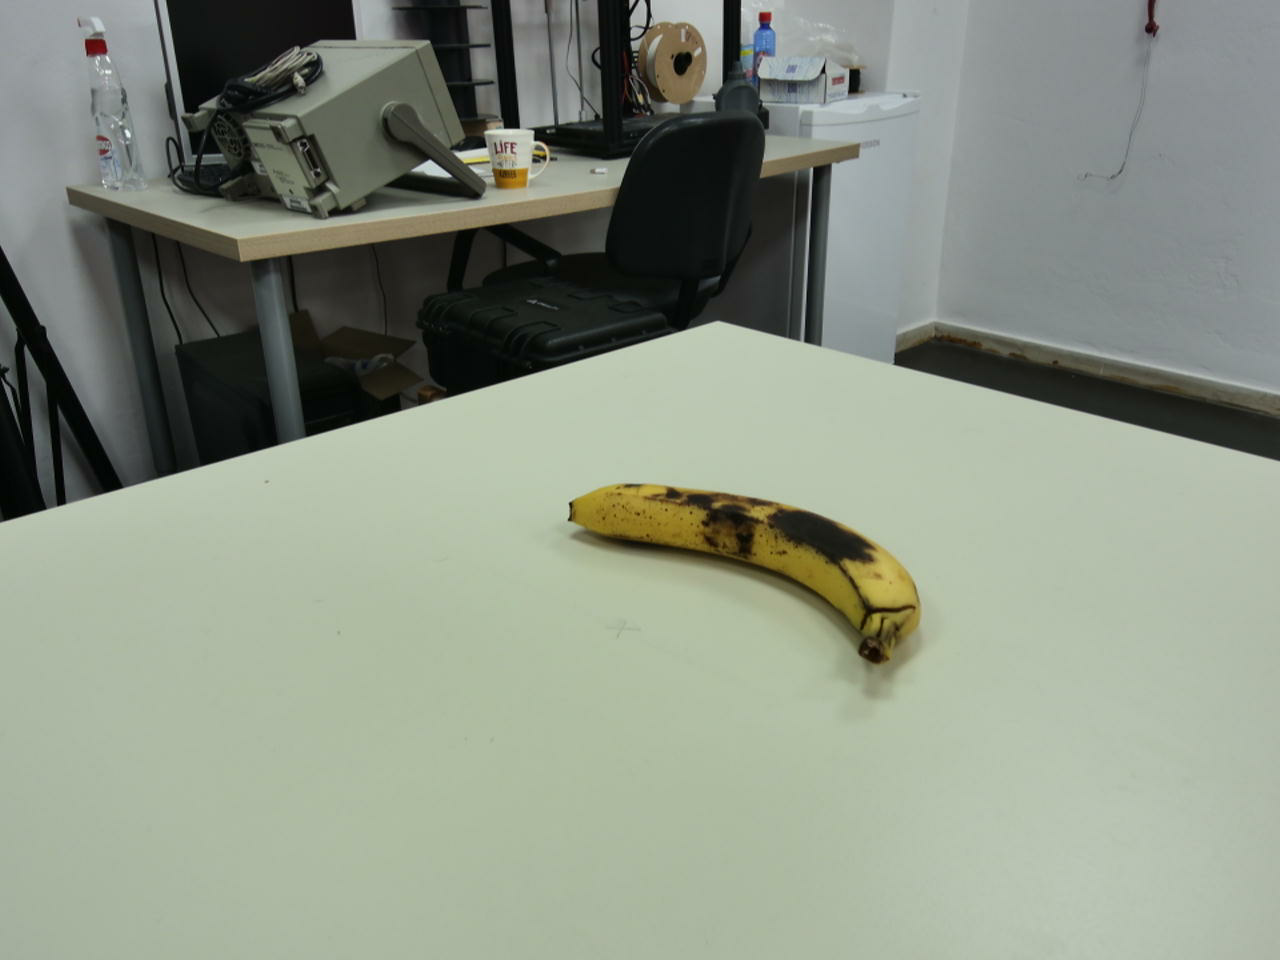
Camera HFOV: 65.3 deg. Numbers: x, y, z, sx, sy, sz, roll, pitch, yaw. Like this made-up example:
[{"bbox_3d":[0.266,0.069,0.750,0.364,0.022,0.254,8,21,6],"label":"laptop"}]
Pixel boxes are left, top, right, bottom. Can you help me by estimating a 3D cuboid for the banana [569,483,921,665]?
[{"bbox_3d":[0.060,0.036,0.532,0.084,0.037,0.222,-19,29,-37],"label":"banana"}]
